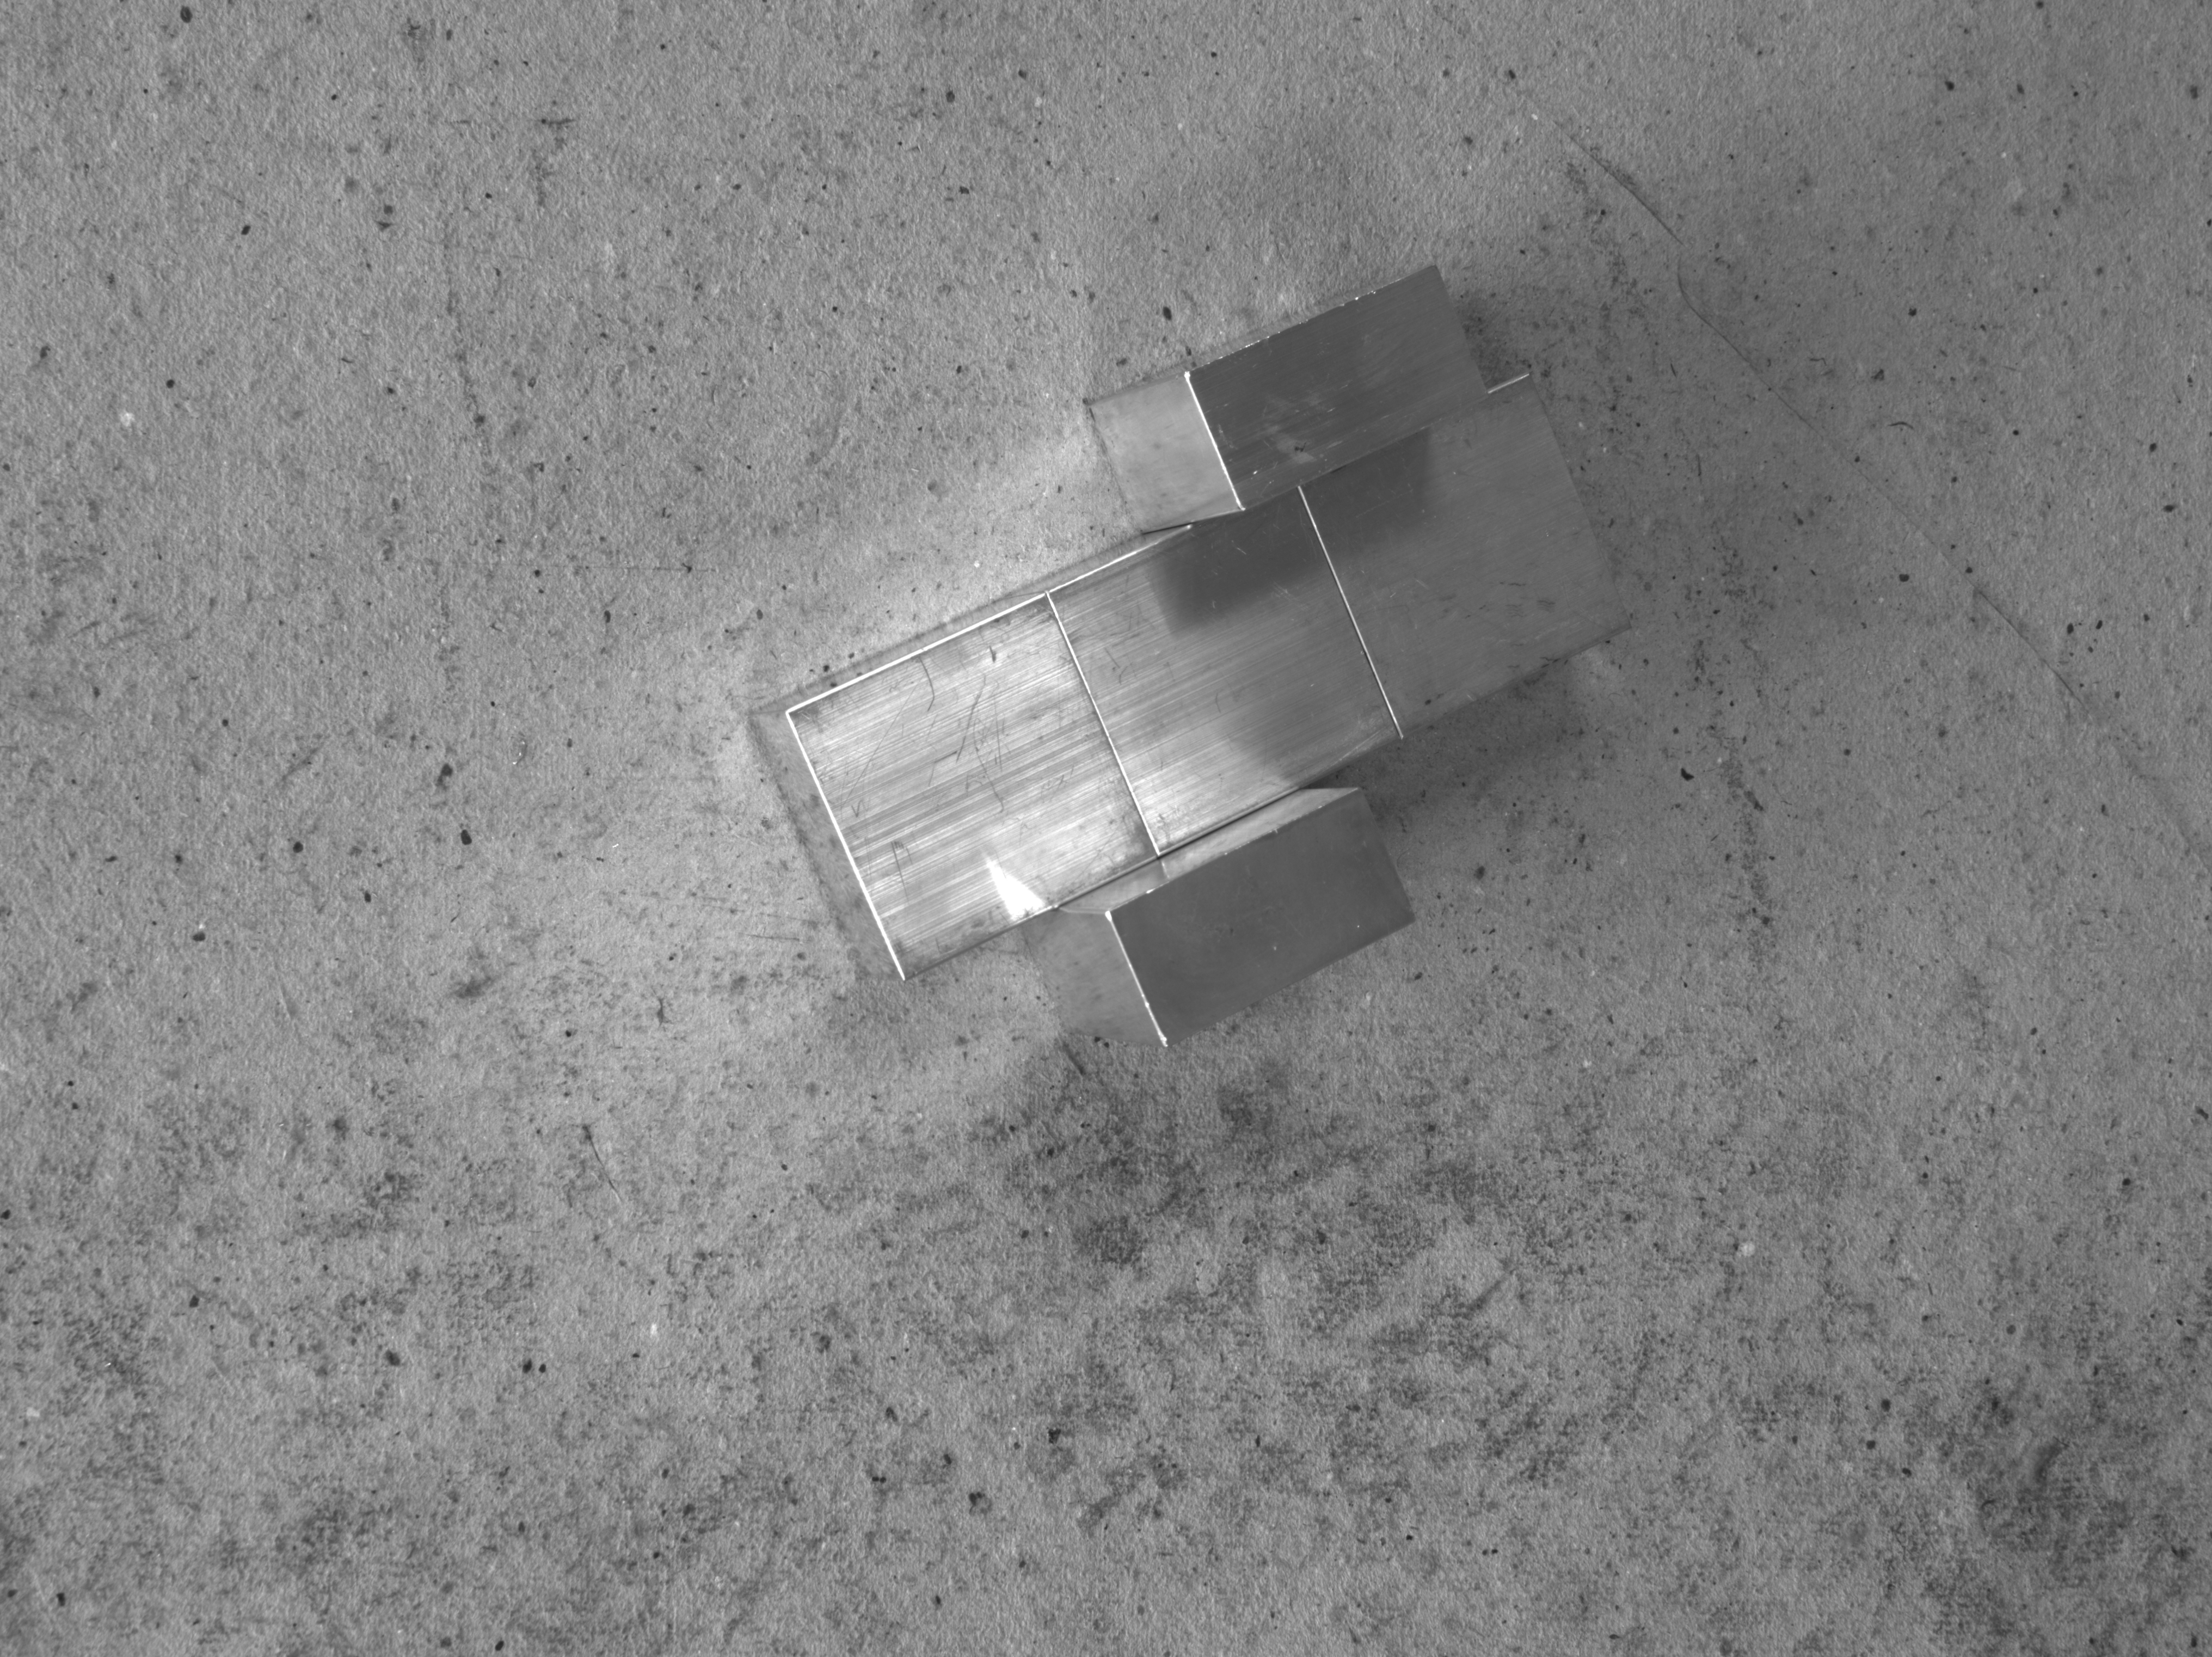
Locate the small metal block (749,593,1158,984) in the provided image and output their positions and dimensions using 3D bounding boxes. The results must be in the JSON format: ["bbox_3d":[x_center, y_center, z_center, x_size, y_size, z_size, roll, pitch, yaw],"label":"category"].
[{"bbox_3d":[-0.026,-0.007,0.634,0.050,0.025,0.050,-26,99,-18],"label":"small metal block"}]

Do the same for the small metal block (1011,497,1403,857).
[{"bbox_3d":[0.017,-0.028,0.649,0.050,0.025,0.050,-26,99,-18],"label":"small metal block"}]

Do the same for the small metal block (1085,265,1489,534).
[{"bbox_3d":[0.031,-0.074,0.642,0.050,0.050,0.025,-25,98,-17],"label":"small metal block"}]

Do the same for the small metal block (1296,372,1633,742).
[{"bbox_3d":[0.060,-0.048,0.665,0.050,0.025,0.050,-26,99,-18],"label":"small metal block"}]

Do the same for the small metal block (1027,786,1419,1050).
[{"bbox_3d":[0.018,0.015,0.637,0.050,0.050,0.025,-26,98,-18],"label":"small metal block"}]
